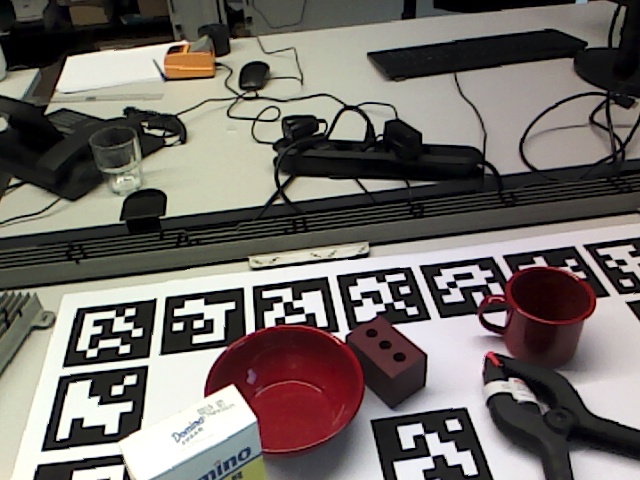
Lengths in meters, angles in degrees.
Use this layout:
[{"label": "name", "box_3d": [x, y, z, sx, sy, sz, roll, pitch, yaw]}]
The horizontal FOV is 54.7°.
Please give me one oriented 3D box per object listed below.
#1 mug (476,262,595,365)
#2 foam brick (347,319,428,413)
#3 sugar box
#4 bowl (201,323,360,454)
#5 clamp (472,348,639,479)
[{"label": "mug", "box_3d": [0.235, 0.082, 0.695, 0.117, 0.081, 0.093, 12, 41, 13]}, {"label": "foam brick", "box_3d": [0.073, 0.137, 0.677, 0.052, 0.051, 0.078, -27, 45, -24]}, {"label": "sugar box", "box_3d": [-0.096, 0.207, 0.496, 0.092, 0.176, 0.045, -23, 45, -25]}, {"label": "bowl", "box_3d": [-0.039, 0.163, 0.642, 0.162, 0.055, 0.162, -2, 39, 1]}, {"label": "clamp", "box_3d": [0.223, 0.180, 0.604, 0.165, 0.036, 0.204, -24, 44, -21]}]
